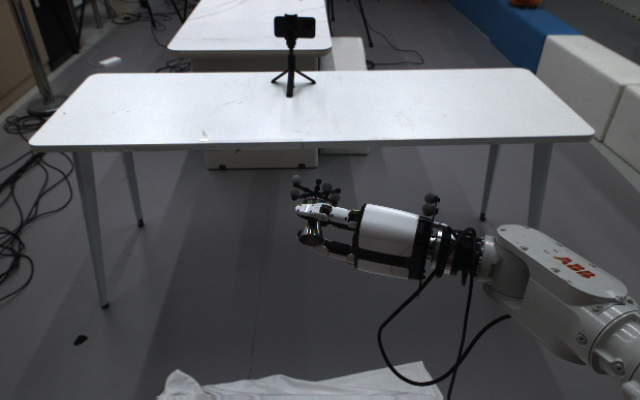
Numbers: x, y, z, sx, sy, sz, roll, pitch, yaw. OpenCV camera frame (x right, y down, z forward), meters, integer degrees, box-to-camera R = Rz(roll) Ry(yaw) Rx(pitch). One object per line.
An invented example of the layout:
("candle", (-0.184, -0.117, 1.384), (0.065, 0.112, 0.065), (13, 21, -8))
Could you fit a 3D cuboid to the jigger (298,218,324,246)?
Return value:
("jigger", (-0.012, 0.031, 0.774), (0.043, 0.043, 0.071), (4, 60, 2))
